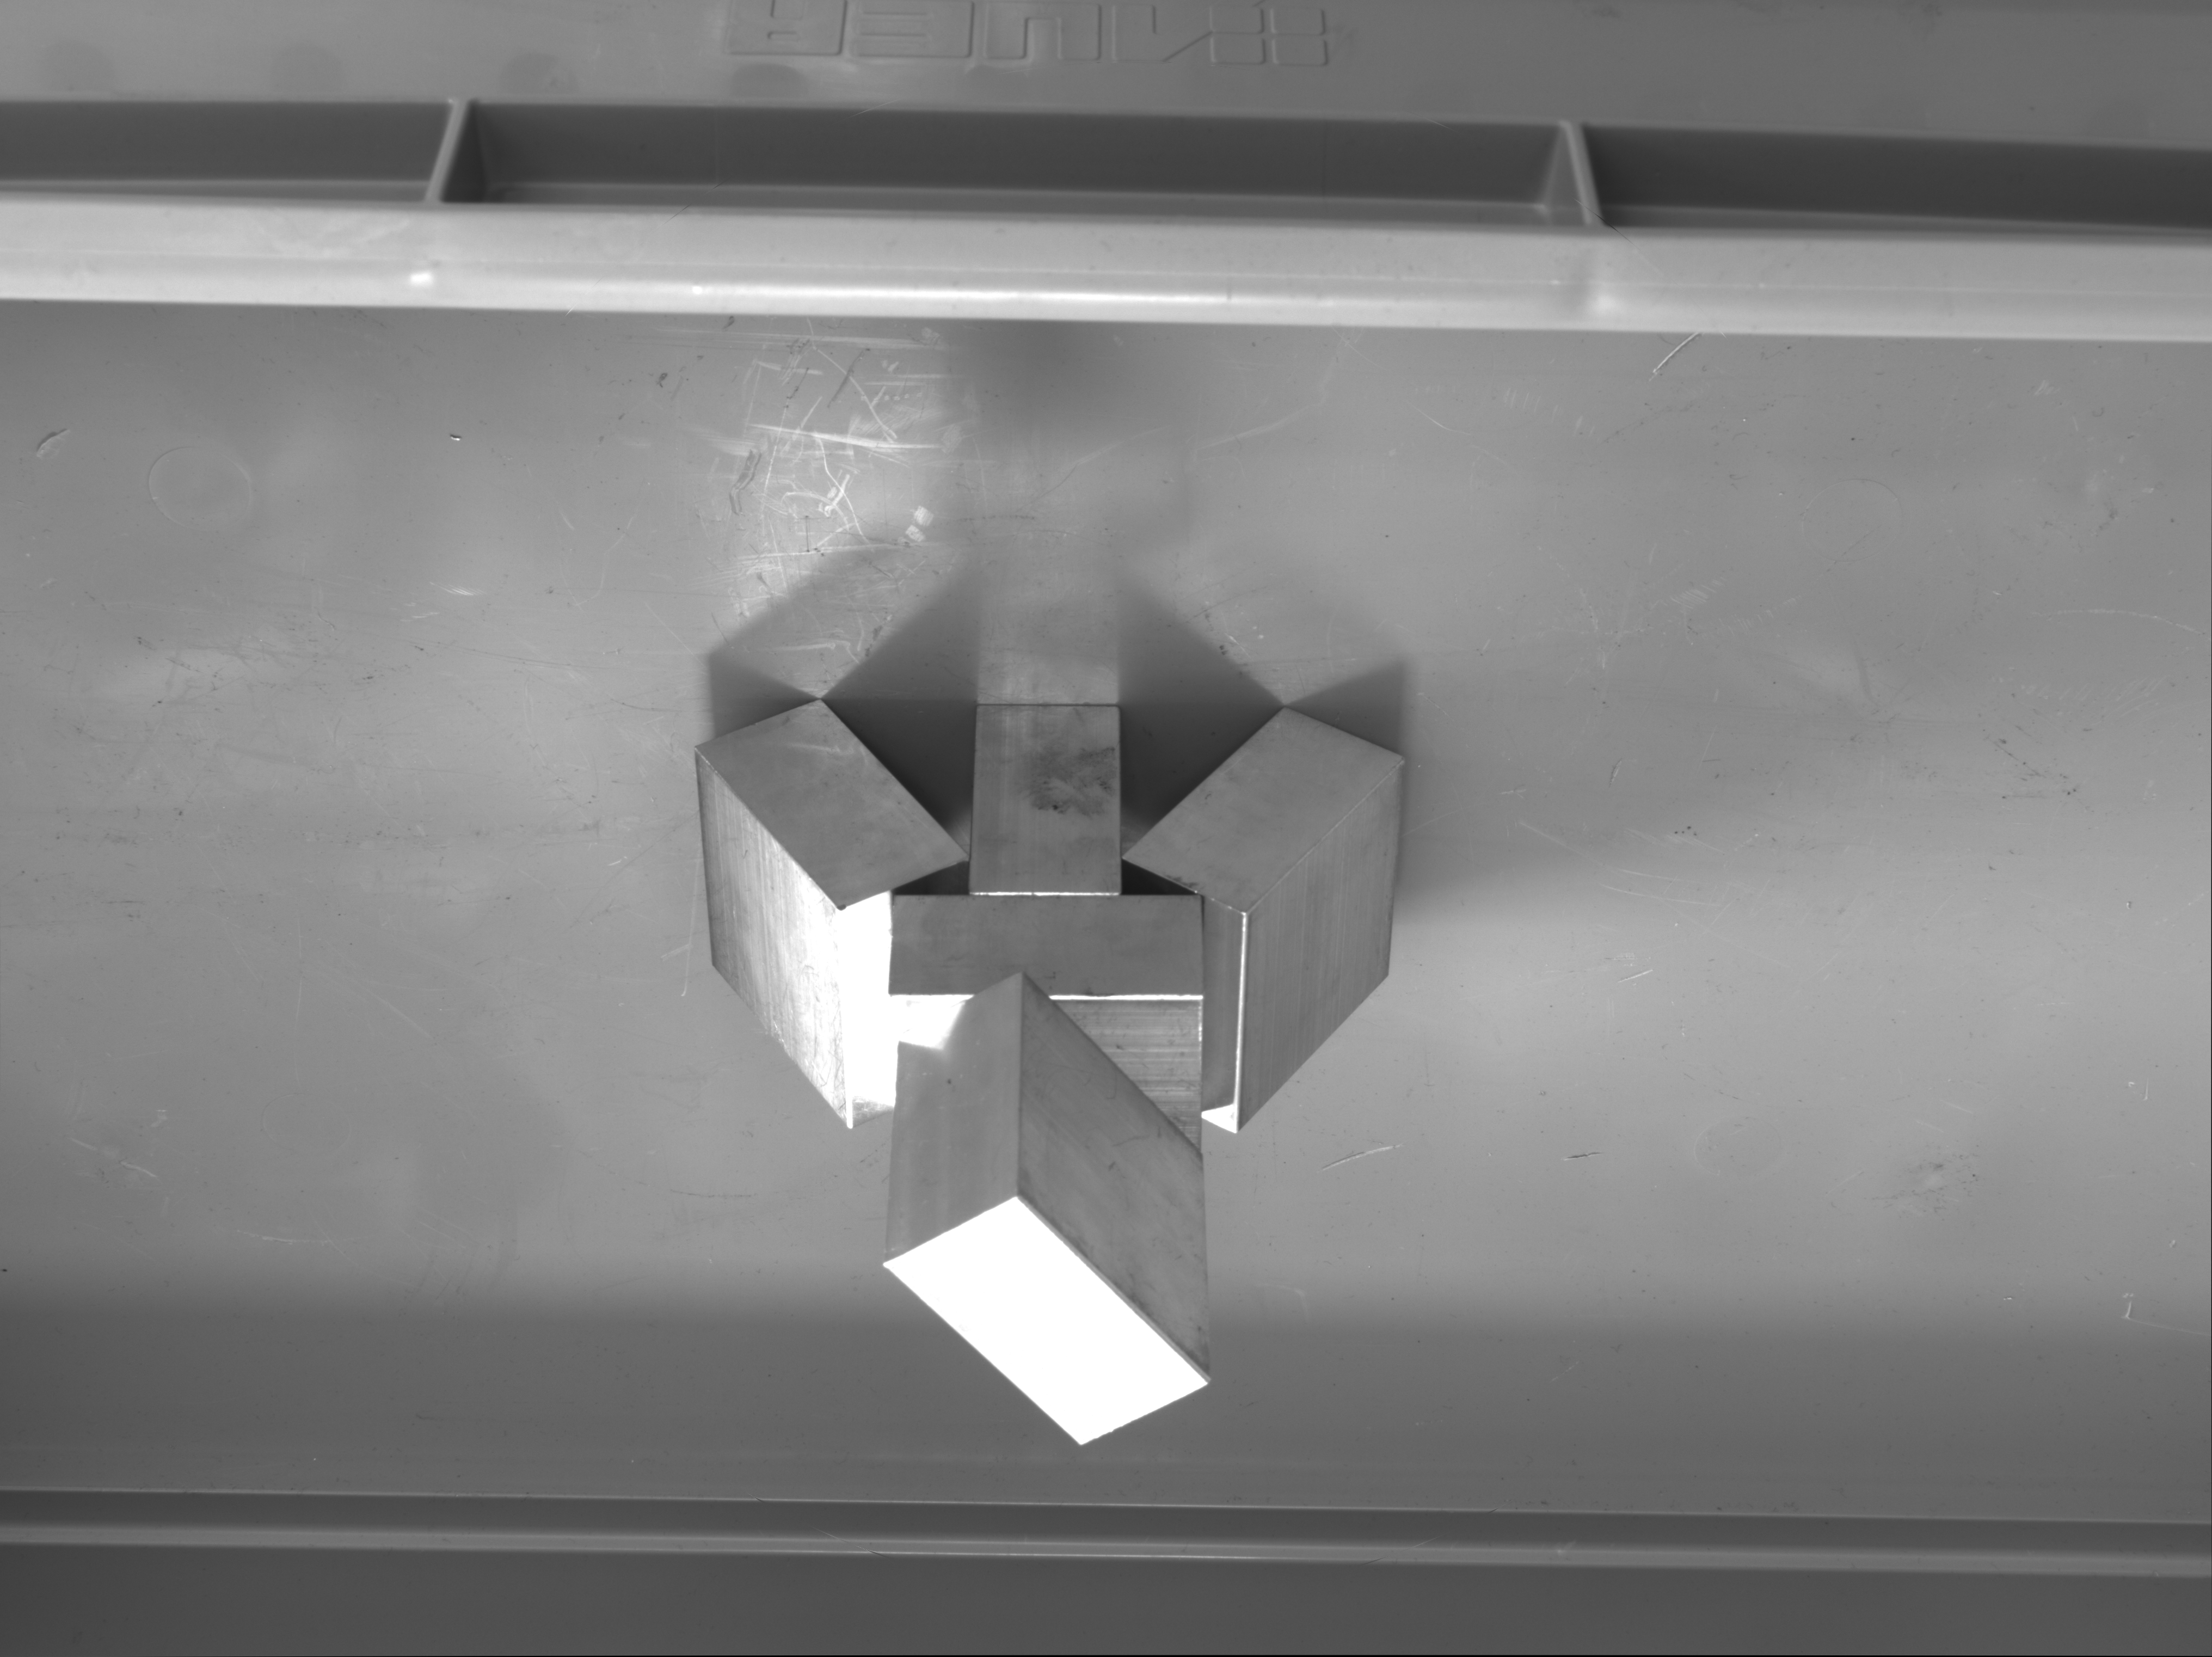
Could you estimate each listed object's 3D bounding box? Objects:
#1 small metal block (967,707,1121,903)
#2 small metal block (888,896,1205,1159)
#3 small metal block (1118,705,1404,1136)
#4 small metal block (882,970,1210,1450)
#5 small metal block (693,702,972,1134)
[{"bbox_3d":[-0.010,0.014,0.632,0.025,0.050,0.050,1,130,0],"label":"small metal block"},{"bbox_3d":[-0.010,0.038,0.603,0.050,0.025,0.050,0,130,0],"label":"small metal block"},{"bbox_3d":[0.026,0.016,0.631,0.025,0.050,0.050,24,135,25],"label":"small metal block"},{"bbox_3d":[-0.008,0.059,0.572,0.025,0.050,0.050,-28,124,22],"label":"small metal block"},{"bbox_3d":[-0.046,0.015,0.630,0.025,0.050,0.050,-23,135,-25],"label":"small metal block"}]
